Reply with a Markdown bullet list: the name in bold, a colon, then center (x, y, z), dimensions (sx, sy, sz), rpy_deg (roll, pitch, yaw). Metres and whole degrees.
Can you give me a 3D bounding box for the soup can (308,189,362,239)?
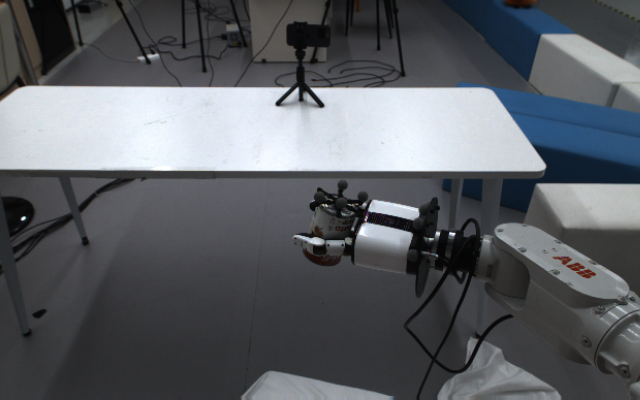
- **soup can**: center (0.017, 0.049, 0.792), dimensions (0.067, 0.101, 0.067), rpy_deg (13, 30, -8)
